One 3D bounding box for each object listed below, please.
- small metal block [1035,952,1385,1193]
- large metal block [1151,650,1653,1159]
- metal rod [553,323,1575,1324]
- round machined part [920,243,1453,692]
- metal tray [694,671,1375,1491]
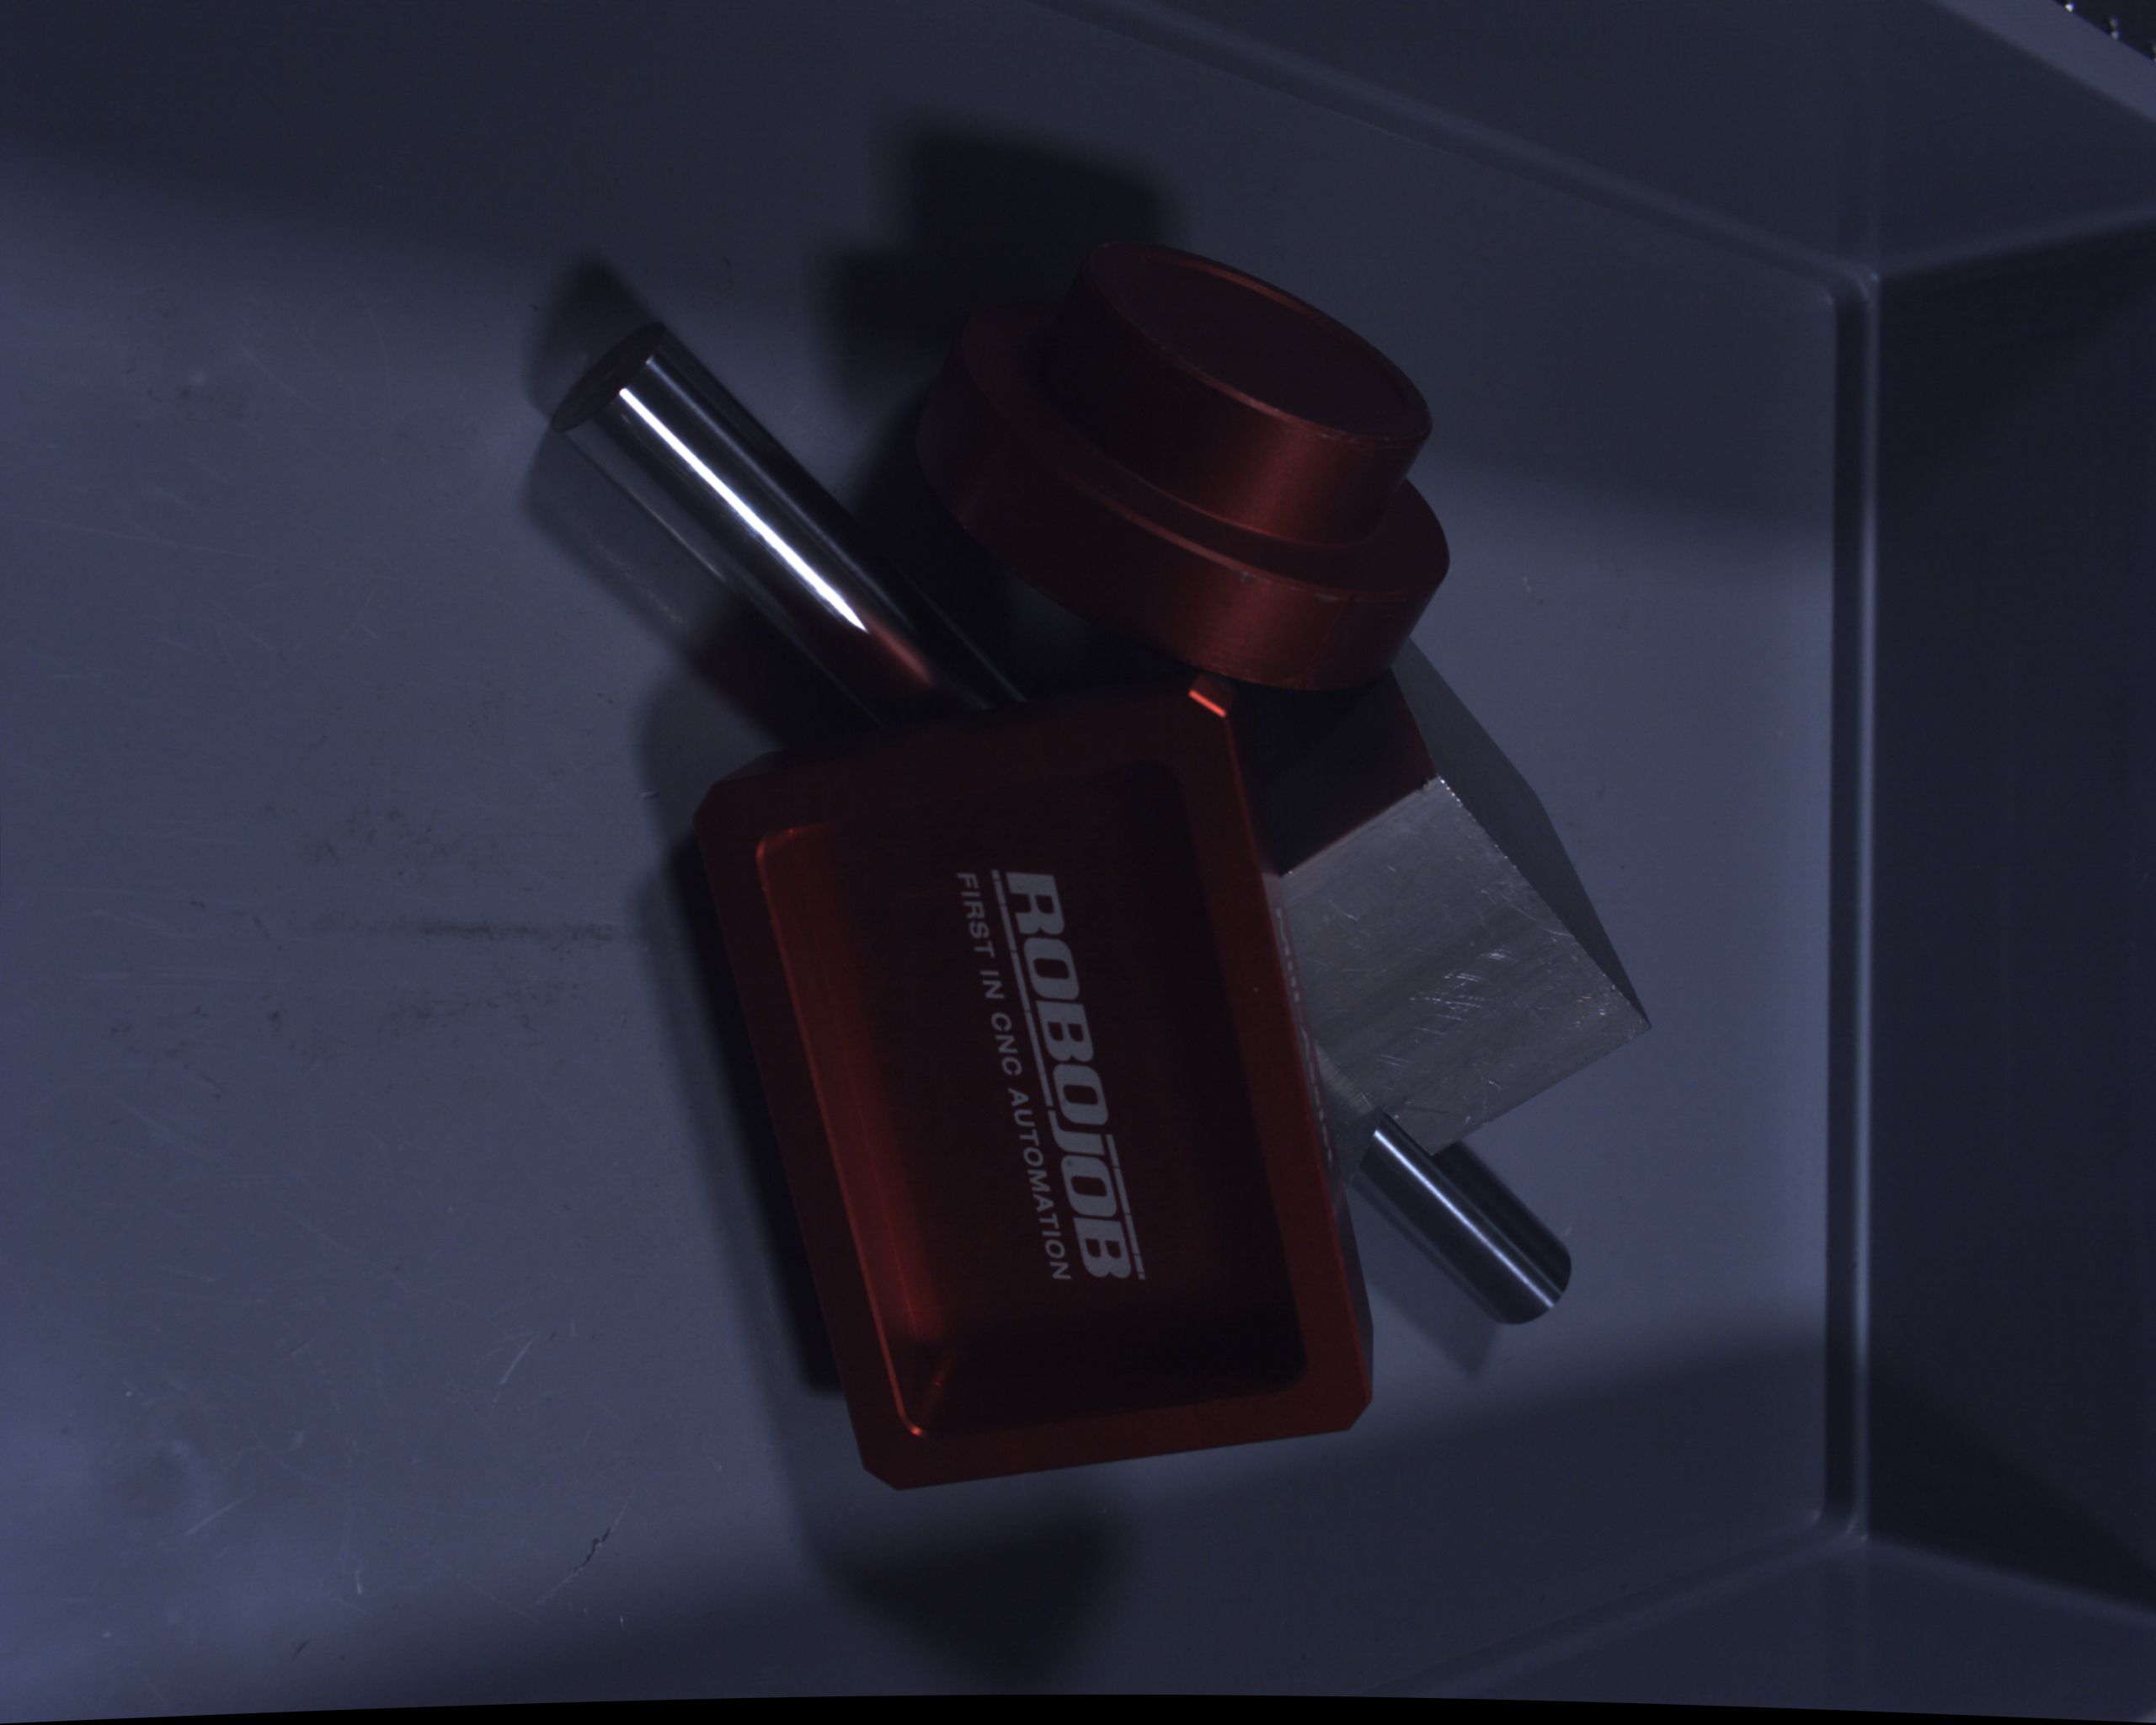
[{"bbox_3d":[0.025,0.042,0.411,0.050,0.050,0.025,46,63,-31],"label":"small metal block"},{"bbox_3d":[0.061,-0.002,0.416,0.080,0.050,0.080,44,21,-31],"label":"large metal block"},{"bbox_3d":[0.015,0.010,0.419,0.300,0.025,0.025,44,63,-31],"label":"metal rod"},{"bbox_3d":[0.025,-0.076,0.377,0.099,0.098,0.042,-3,132,-40],"label":"round machined part"},{"bbox_3d":[-0.005,0.039,0.362,0.030,0.090,0.129,-58,137,-75],"label":"metal tray"}]
